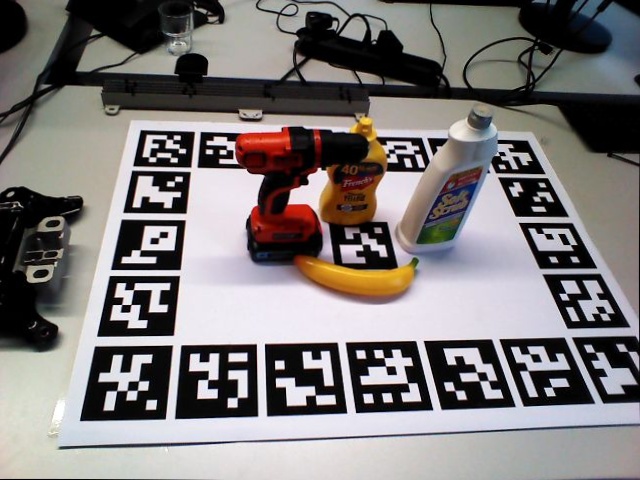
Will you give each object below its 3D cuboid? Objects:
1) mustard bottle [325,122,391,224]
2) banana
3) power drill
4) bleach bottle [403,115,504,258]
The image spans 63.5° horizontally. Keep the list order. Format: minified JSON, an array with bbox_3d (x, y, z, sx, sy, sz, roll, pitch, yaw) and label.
[{"bbox_3d":[0.067,-0.107,0.800,0.096,0.192,0.058,2,50,-8],"label":"mustard bottle"},{"bbox_3d":[0.074,0.050,0.768,0.197,0.039,0.074,2,55,-4],"label":"banana"},{"bbox_3d":[-0.028,-0.073,0.736,0.184,0.188,0.057,0,44,-11],"label":"power drill"},{"bbox_3d":[0.202,-0.074,0.764,0.102,0.252,0.067,-6,53,-13],"label":"bleach bottle"}]
